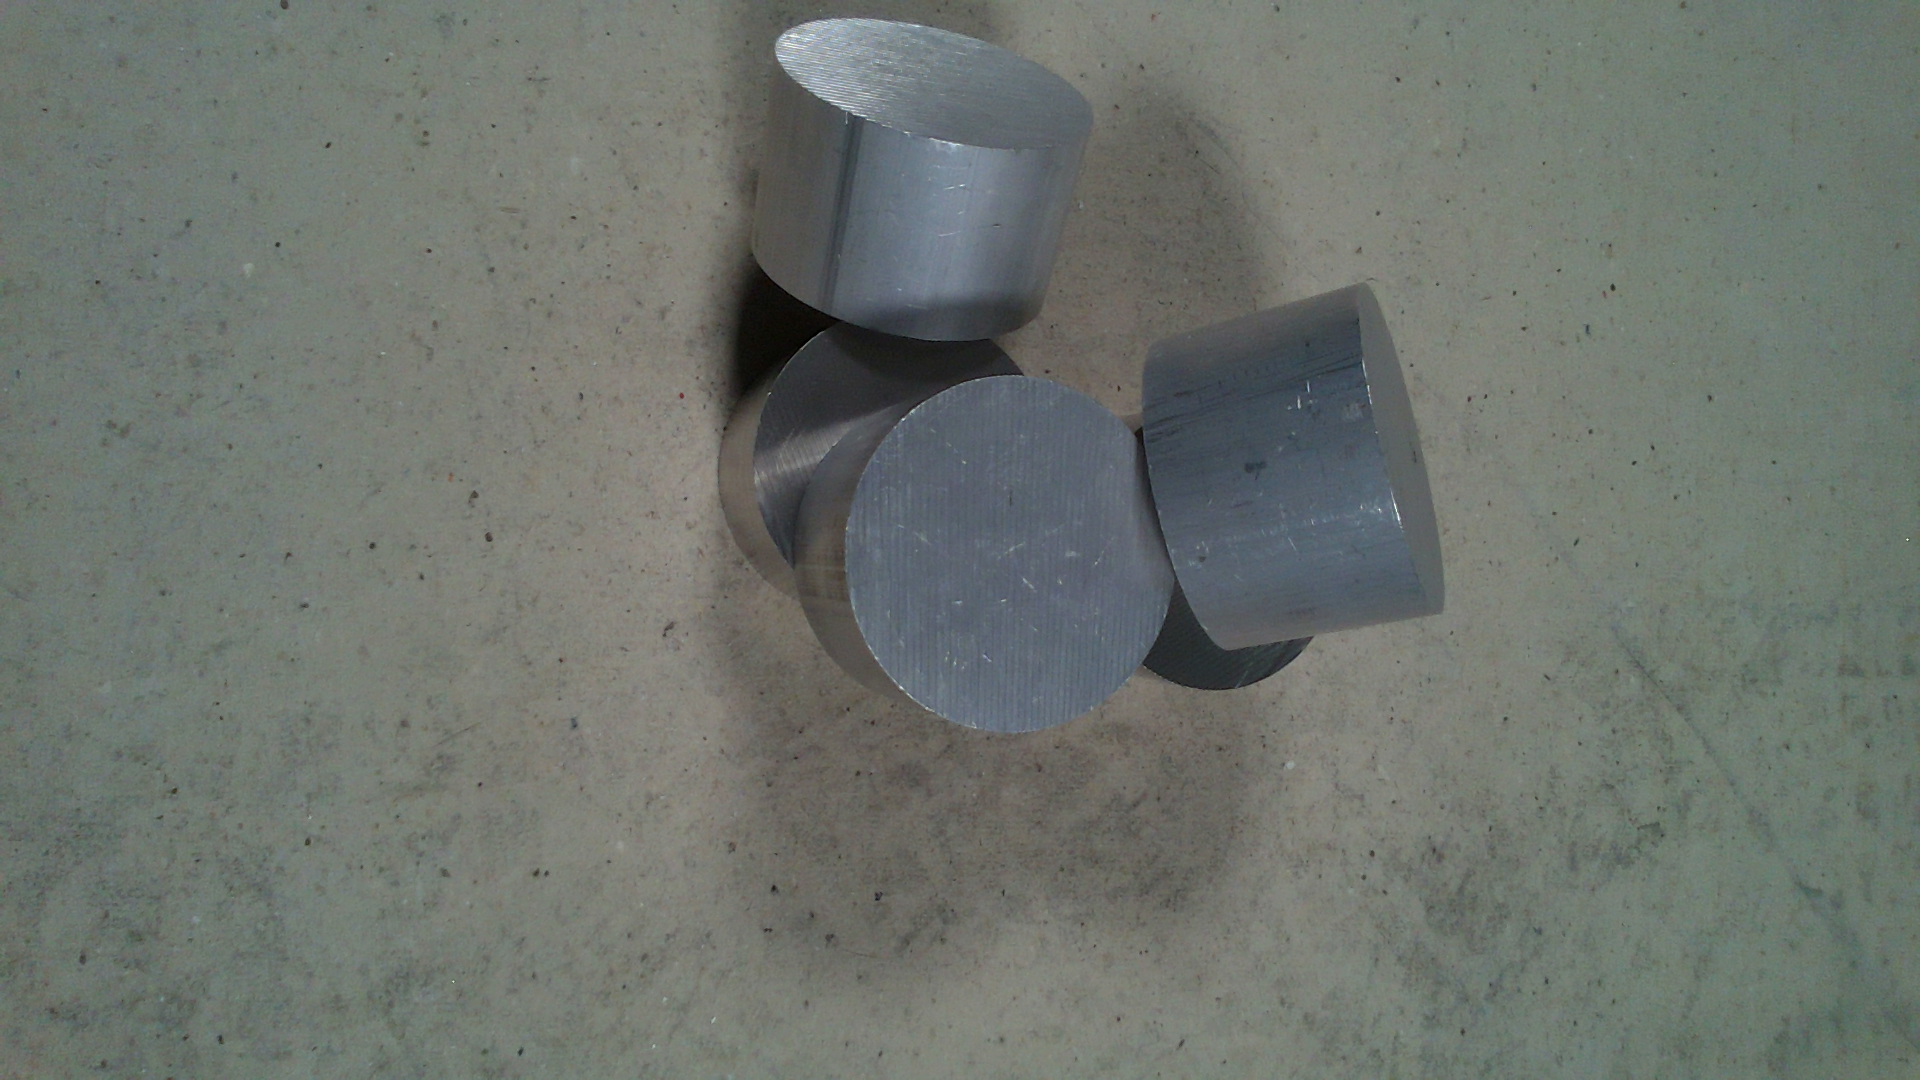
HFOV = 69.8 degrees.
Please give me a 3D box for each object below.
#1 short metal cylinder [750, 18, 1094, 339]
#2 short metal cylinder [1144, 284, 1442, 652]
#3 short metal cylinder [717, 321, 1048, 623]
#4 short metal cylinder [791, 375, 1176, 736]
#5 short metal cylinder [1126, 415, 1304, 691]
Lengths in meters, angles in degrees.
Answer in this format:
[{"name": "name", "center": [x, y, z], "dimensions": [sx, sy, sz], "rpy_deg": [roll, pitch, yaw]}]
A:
[{"name": "short metal cylinder", "center": [-0.011, -0.094, 0.353], "dimensions": [0.080, 0.080, 0.050], "rpy_deg": [0, 129, -20]}, {"name": "short metal cylinder", "center": [0.082, -0.016, 0.334], "dimensions": [0.050, 0.080, 0.080], "rpy_deg": [-13, 96, 24]}, {"name": "short metal cylinder", "center": [-0.022, -0.019, 0.372], "dimensions": [0.080, 0.050, 0.080], "rpy_deg": [0, 90, -20]}, {"name": "short metal cylinder", "center": [0.005, 0.003, 0.328], "dimensions": [0.080, 0.050, 0.080], "rpy_deg": [0, 90, -20]}, {"name": "short metal cylinder", "center": [0.063, 0.002, 0.403], "dimensions": [0.080, 0.050, 0.080], "rpy_deg": [0, 90, -20]}]
